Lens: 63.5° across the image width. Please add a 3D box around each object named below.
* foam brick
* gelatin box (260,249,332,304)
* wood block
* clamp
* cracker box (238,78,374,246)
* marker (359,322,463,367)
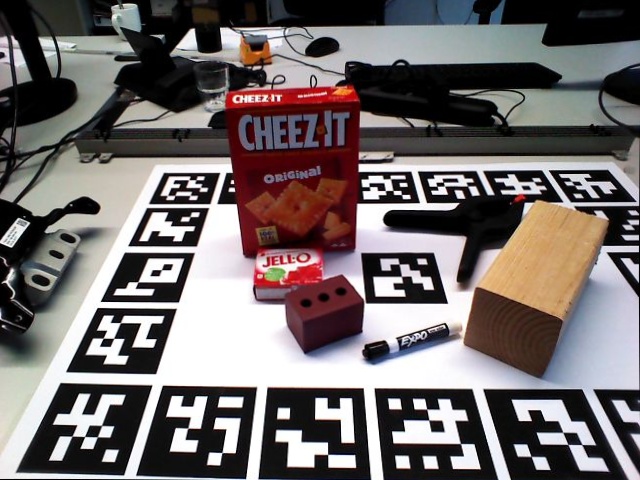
[{"bbox_3d":[0.010,0.086,0.586,0.078,0.051,0.053,-17,43,-17],"label":"foam brick"},{"bbox_3d":[-0.029,0.045,0.660,0.089,0.030,0.073,-1,41,1],"label":"gelatin box"},{"bbox_3d":[0.263,0.049,0.595,0.090,0.091,0.205,22,42,30],"label":"wood block"},{"bbox_3d":[0.227,-0.026,0.727,0.202,0.037,0.165,-21,43,-22],"label":"clamp"},{"bbox_3d":[-0.016,-0.094,0.674,0.164,0.214,0.071,-2,38,-2],"label":"cracker box"},{"bbox_3d":[0.100,0.115,0.569,0.121,0.020,0.019,-13,42,-13],"label":"marker"}]
